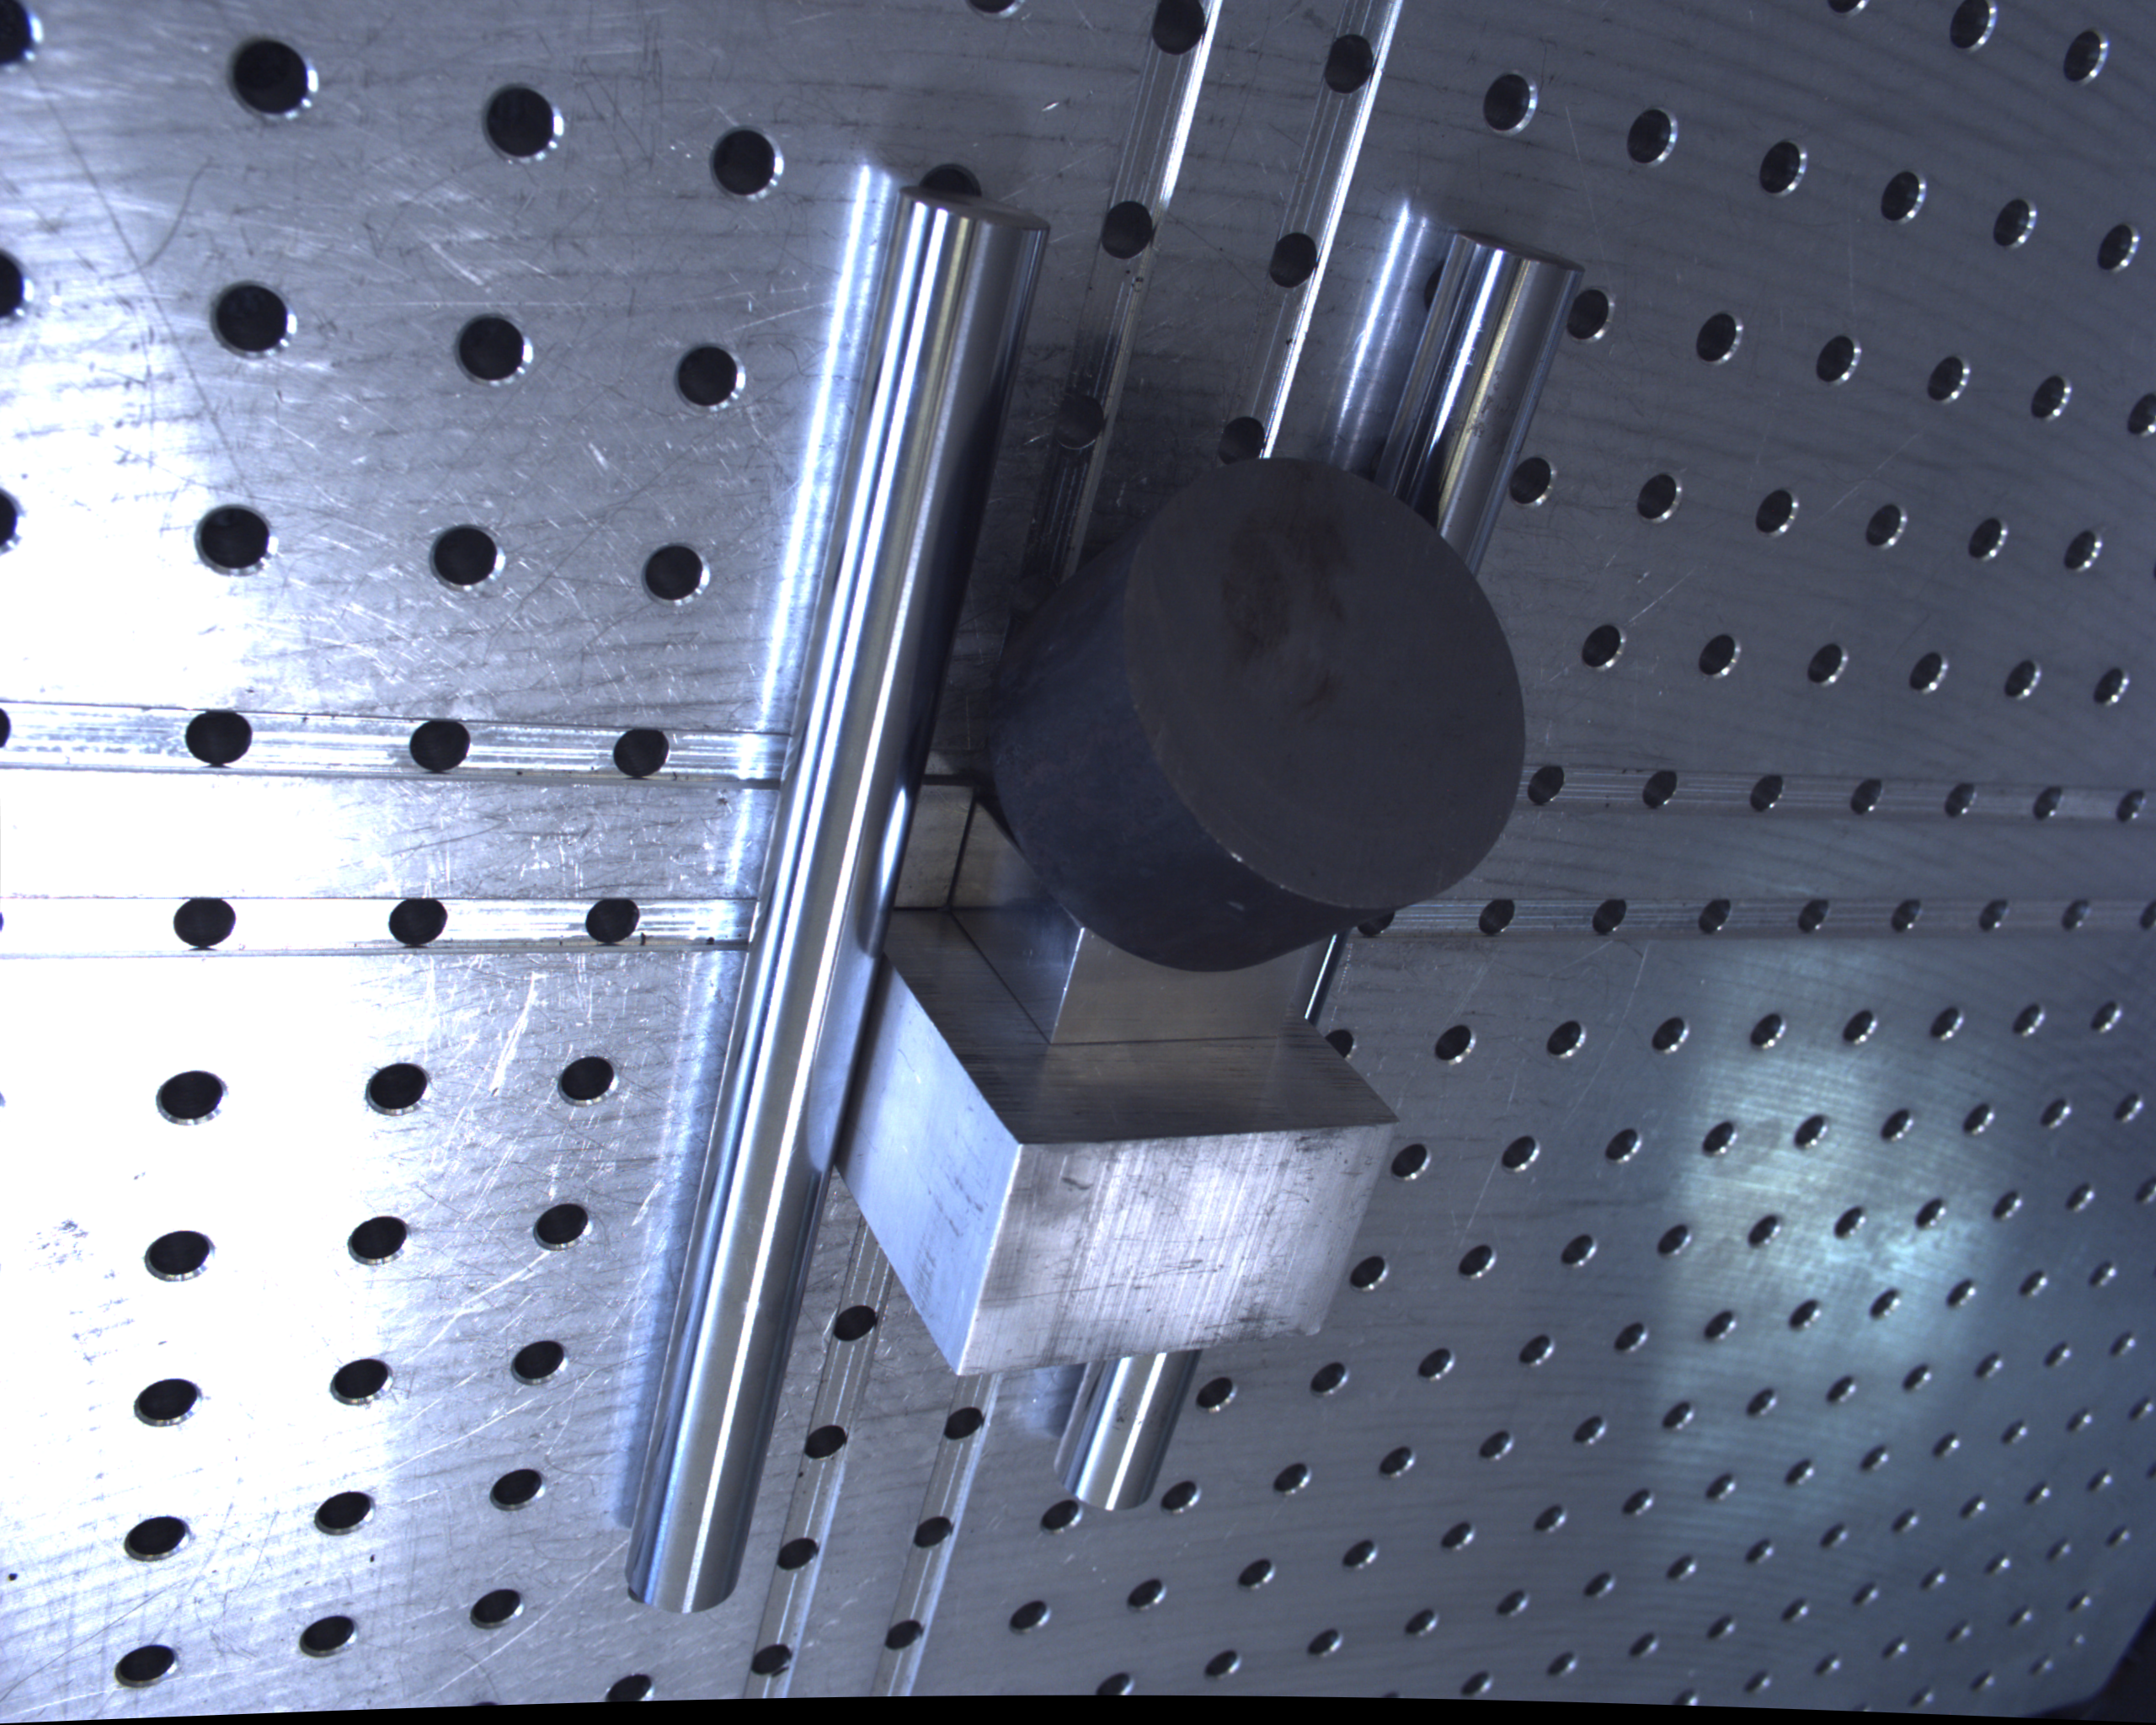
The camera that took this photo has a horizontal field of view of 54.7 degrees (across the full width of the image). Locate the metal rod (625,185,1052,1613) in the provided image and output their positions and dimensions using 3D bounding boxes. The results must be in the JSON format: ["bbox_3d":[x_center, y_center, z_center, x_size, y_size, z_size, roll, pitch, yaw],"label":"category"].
[{"bbox_3d":[-0.052,0.025,0.398,0.025,0.025,0.298,1,118,-29],"label":"metal rod"}]

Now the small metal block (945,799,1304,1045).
[{"bbox_3d":[0.009,0.011,0.406,0.050,0.050,0.025,1,118,-30],"label":"small metal block"}]

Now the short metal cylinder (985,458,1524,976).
[{"bbox_3d":[0.031,-0.024,0.369,0.081,0.050,0.080,9,70,-27],"label":"short metal cylinder"}]

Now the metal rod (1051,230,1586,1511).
[{"bbox_3d":[0.044,0.017,0.446,0.025,0.025,0.298,2,118,-29],"label":"metal rod"}]

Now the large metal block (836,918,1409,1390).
[{"bbox_3d":[0.003,0.052,0.406,0.081,0.080,0.050,1,118,-29],"label":"large metal block"}]
